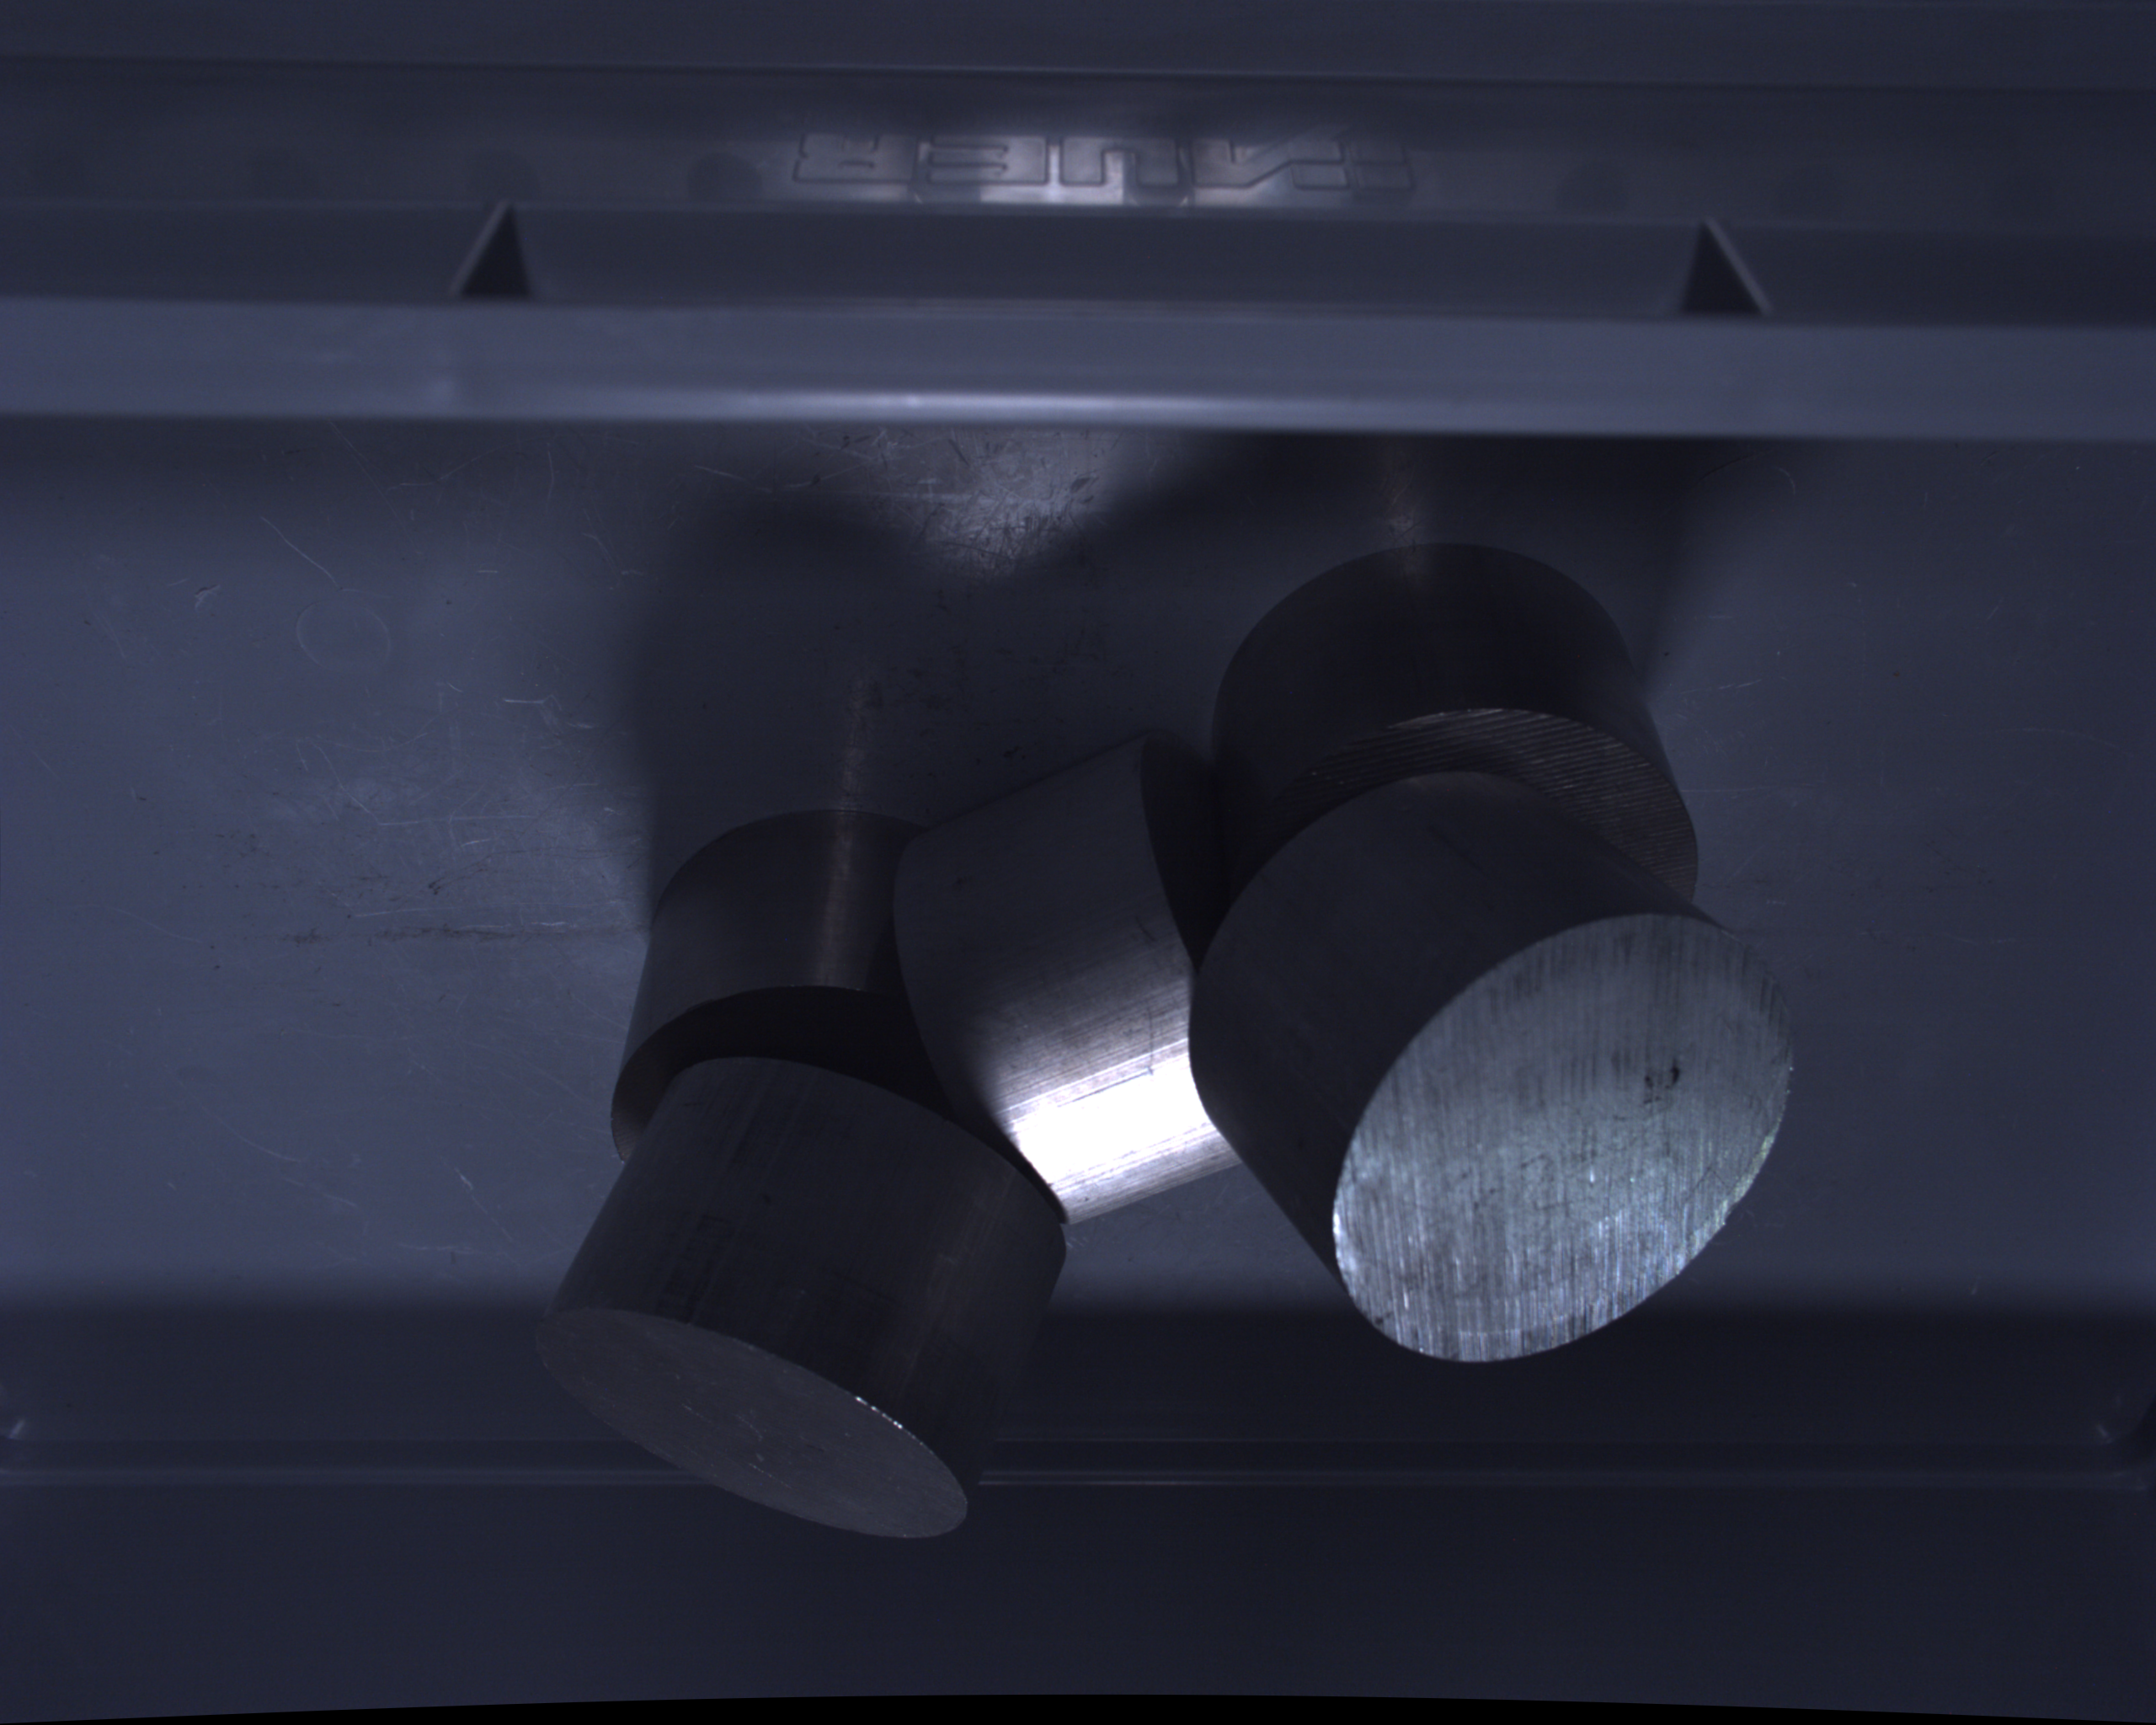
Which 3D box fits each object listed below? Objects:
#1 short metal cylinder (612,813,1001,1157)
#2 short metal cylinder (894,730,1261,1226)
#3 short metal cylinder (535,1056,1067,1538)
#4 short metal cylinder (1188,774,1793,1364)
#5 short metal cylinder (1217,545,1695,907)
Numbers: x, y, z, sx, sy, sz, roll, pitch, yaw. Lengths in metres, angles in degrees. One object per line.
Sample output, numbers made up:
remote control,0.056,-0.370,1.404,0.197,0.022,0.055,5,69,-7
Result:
short metal cylinder,-0.049,0.037,0.421,0.081,0.050,0.079,0,130,0
short metal cylinder,0.009,0.022,0.389,0.050,0.080,0.080,-23,127,18
short metal cylinder,-0.048,0.078,0.372,0.080,0.050,0.080,15,145,12
short metal cylinder,0.065,0.032,0.333,0.081,0.050,0.079,-11,120,-19
short metal cylinder,0.067,-0.011,0.382,0.081,0.050,0.079,0,130,0
